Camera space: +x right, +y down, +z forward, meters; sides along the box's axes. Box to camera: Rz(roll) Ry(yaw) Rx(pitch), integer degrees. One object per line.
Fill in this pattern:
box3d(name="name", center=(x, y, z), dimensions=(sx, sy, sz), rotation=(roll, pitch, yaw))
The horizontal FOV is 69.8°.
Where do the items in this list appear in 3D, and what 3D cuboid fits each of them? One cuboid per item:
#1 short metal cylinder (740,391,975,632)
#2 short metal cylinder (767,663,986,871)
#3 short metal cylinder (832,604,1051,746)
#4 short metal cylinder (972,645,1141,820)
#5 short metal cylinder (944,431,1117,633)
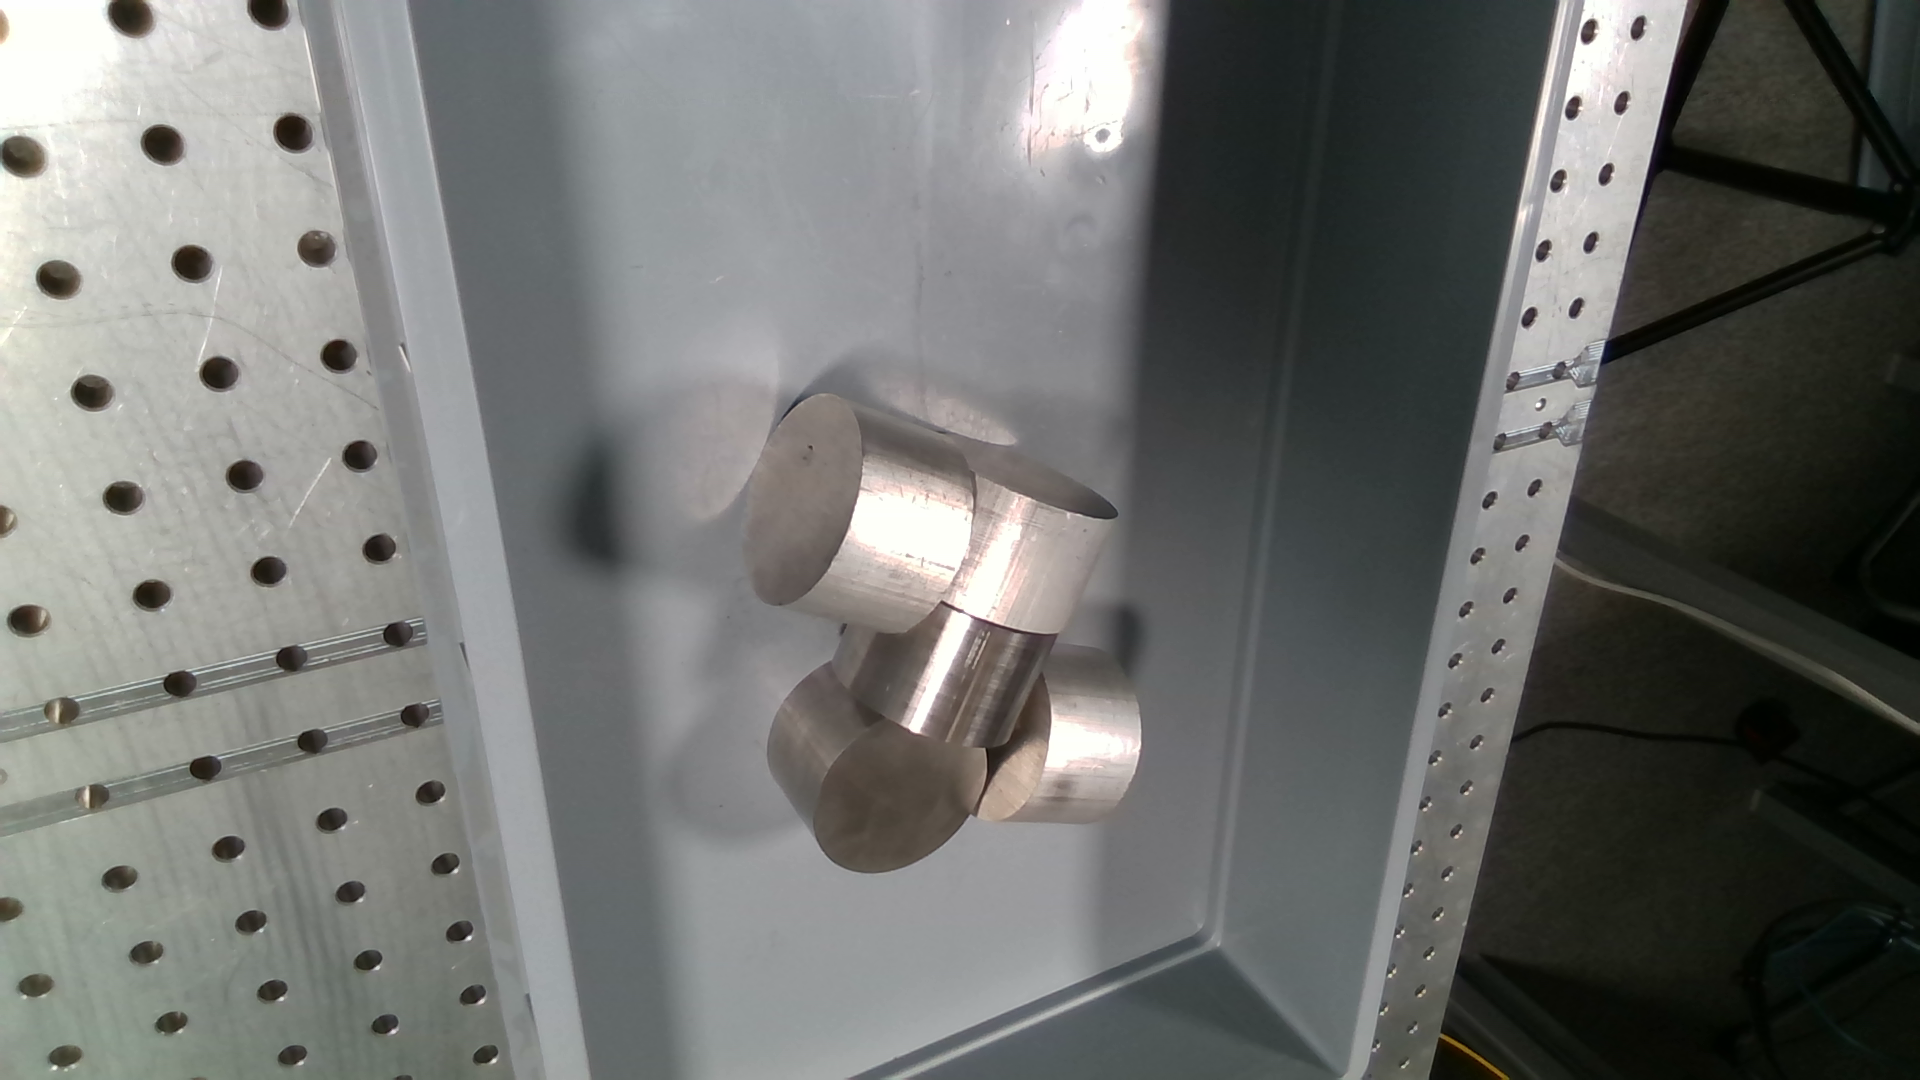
box3d(name="short metal cylinder", center=(-0.040, -0.010, 0.514), dimensions=(0.050, 0.080, 0.080), rotation=(17, 105, -37))
box3d(name="short metal cylinder", center=(-0.036, 0.094, 0.591), dimensions=(0.080, 0.050, 0.080), rotation=(-14, 122, -25))
box3d(name="short metal cylinder", center=(-0.006, 0.041, 0.563), dimensions=(0.080, 0.080, 0.050), rotation=(14, 107, -36))
box3d(name="short metal cylinder", center=(0.034, 0.084, 0.610), dimensions=(0.050, 0.080, 0.080), rotation=(10, 109, -35))
box3d(name="short metal cylinder", center=(0.017, -0.004, 0.552), dimensions=(0.080, 0.080, 0.050), rotation=(13, 108, -36))
